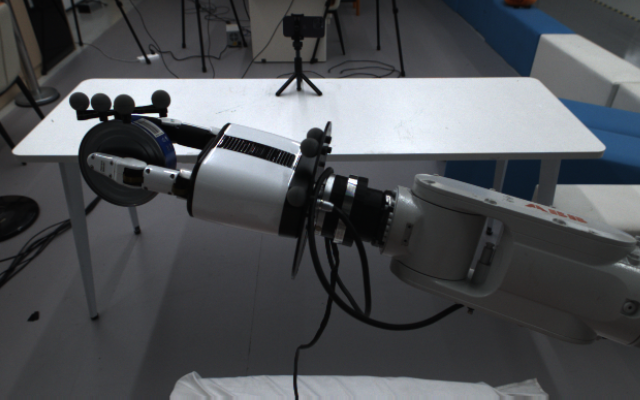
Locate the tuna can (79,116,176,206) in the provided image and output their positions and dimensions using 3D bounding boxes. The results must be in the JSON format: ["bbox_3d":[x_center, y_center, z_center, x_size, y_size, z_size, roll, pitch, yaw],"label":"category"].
[{"bbox_3d":[-0.184,-0.037,0.478,0.085,0.085,0.034,4,18,3],"label":"tuna can"}]
